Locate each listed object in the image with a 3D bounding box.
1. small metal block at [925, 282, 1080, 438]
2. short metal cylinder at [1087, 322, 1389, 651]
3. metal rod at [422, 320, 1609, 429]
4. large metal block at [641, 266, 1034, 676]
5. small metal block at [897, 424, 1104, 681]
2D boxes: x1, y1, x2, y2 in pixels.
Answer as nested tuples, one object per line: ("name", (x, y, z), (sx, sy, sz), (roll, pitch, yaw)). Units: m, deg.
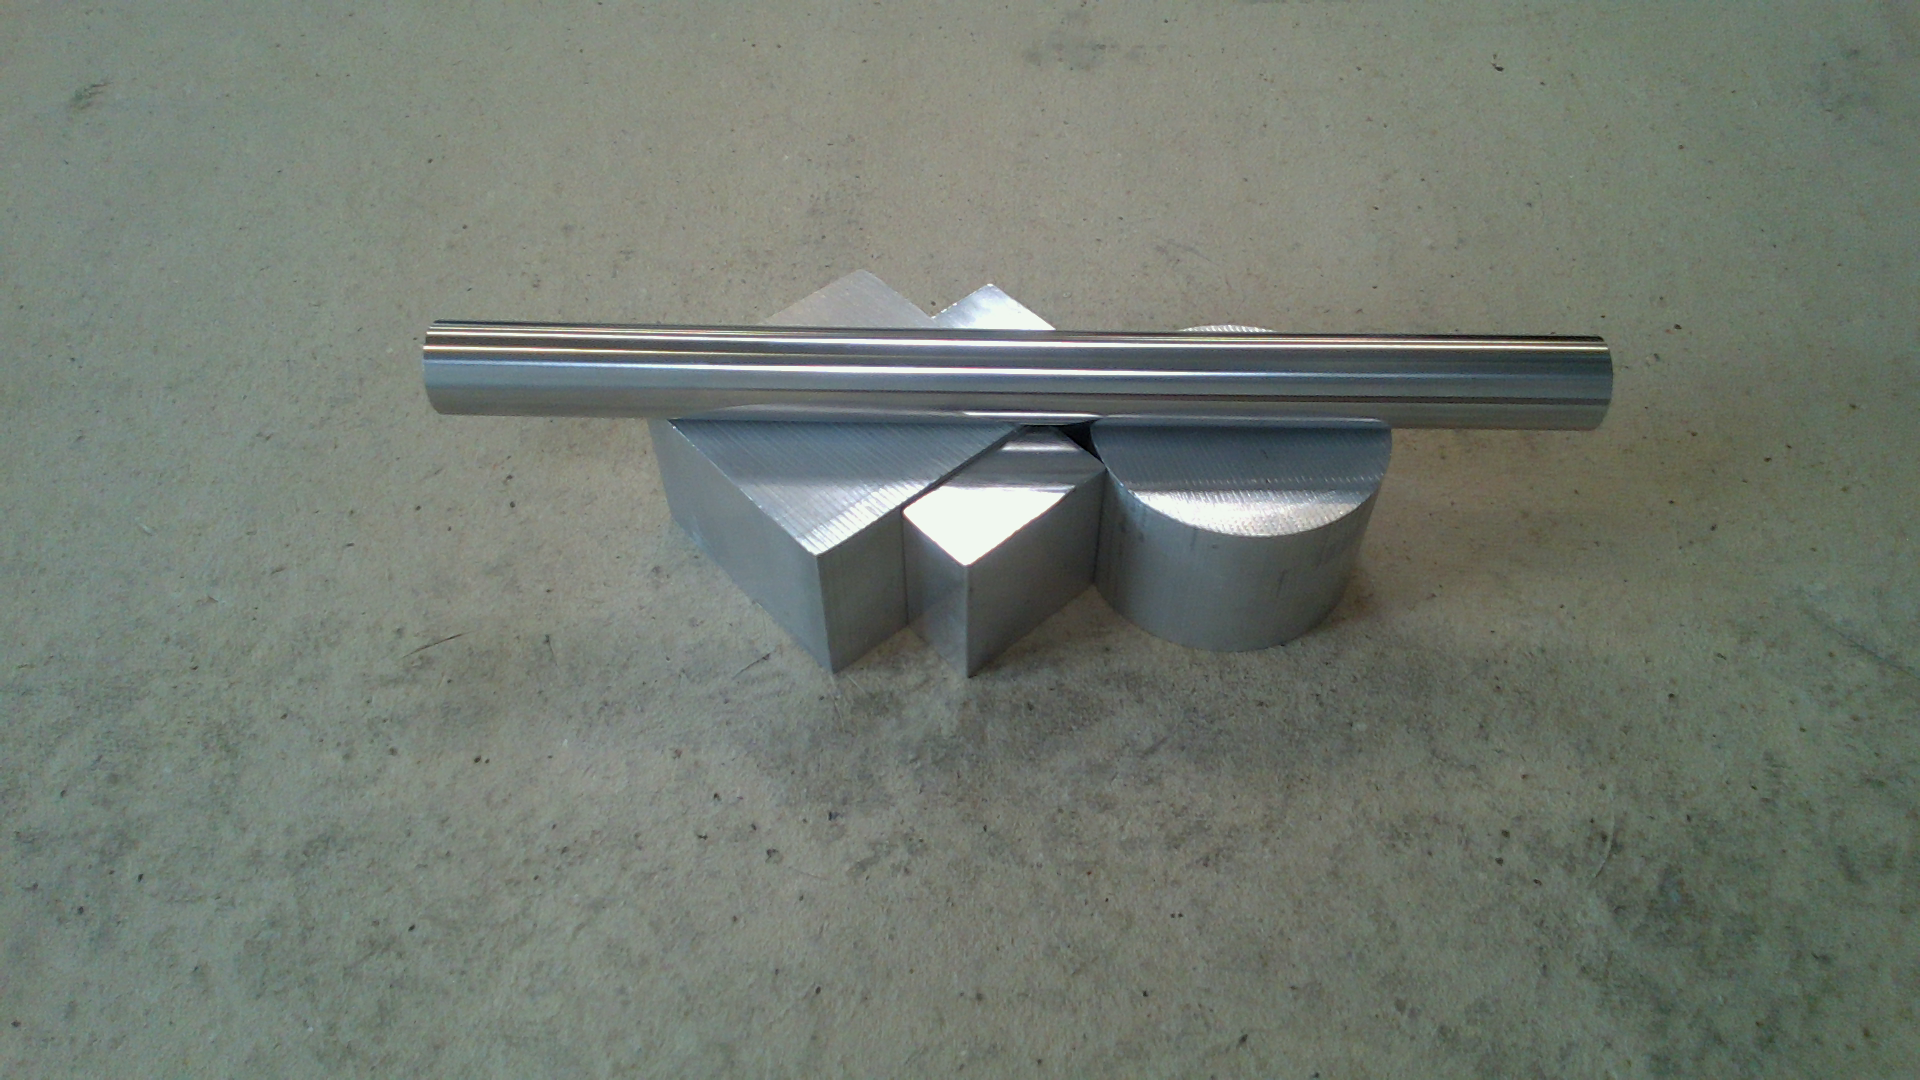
("small metal block", (0.016, -0.040, 0.410), (0.025, 0.050, 0.050), (-35, 58, -26))
("short metal cylinder", (0.075, -0.016, 0.388), (0.080, 0.050, 0.080), (0, 50, 0))
("metal rod", (0.014, -0.043, 0.360), (0.300, 0.025, 0.025), (1, 50, 1))
("large metal block", (-0.033, -0.022, 0.392), (0.080, 0.050, 0.080), (-35, 58, -26))
("small metal block", (0.011, 0.003, 0.375), (0.050, 0.050, 0.025), (-35, 58, -26))
